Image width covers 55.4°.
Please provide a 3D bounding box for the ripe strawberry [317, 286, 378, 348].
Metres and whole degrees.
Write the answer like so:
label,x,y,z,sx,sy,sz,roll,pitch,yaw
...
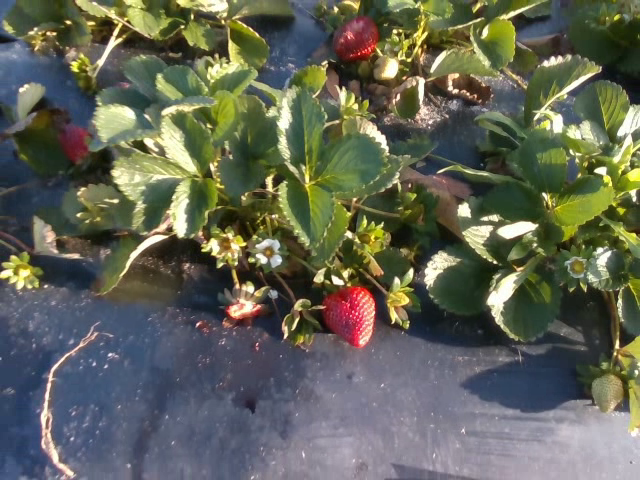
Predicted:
label,x,y,z,sx,sy,sz,roll,pitch,yaw
ripe strawberry,0.025,0.064,0.468,0.052,0.041,0.052,-20,39,7
